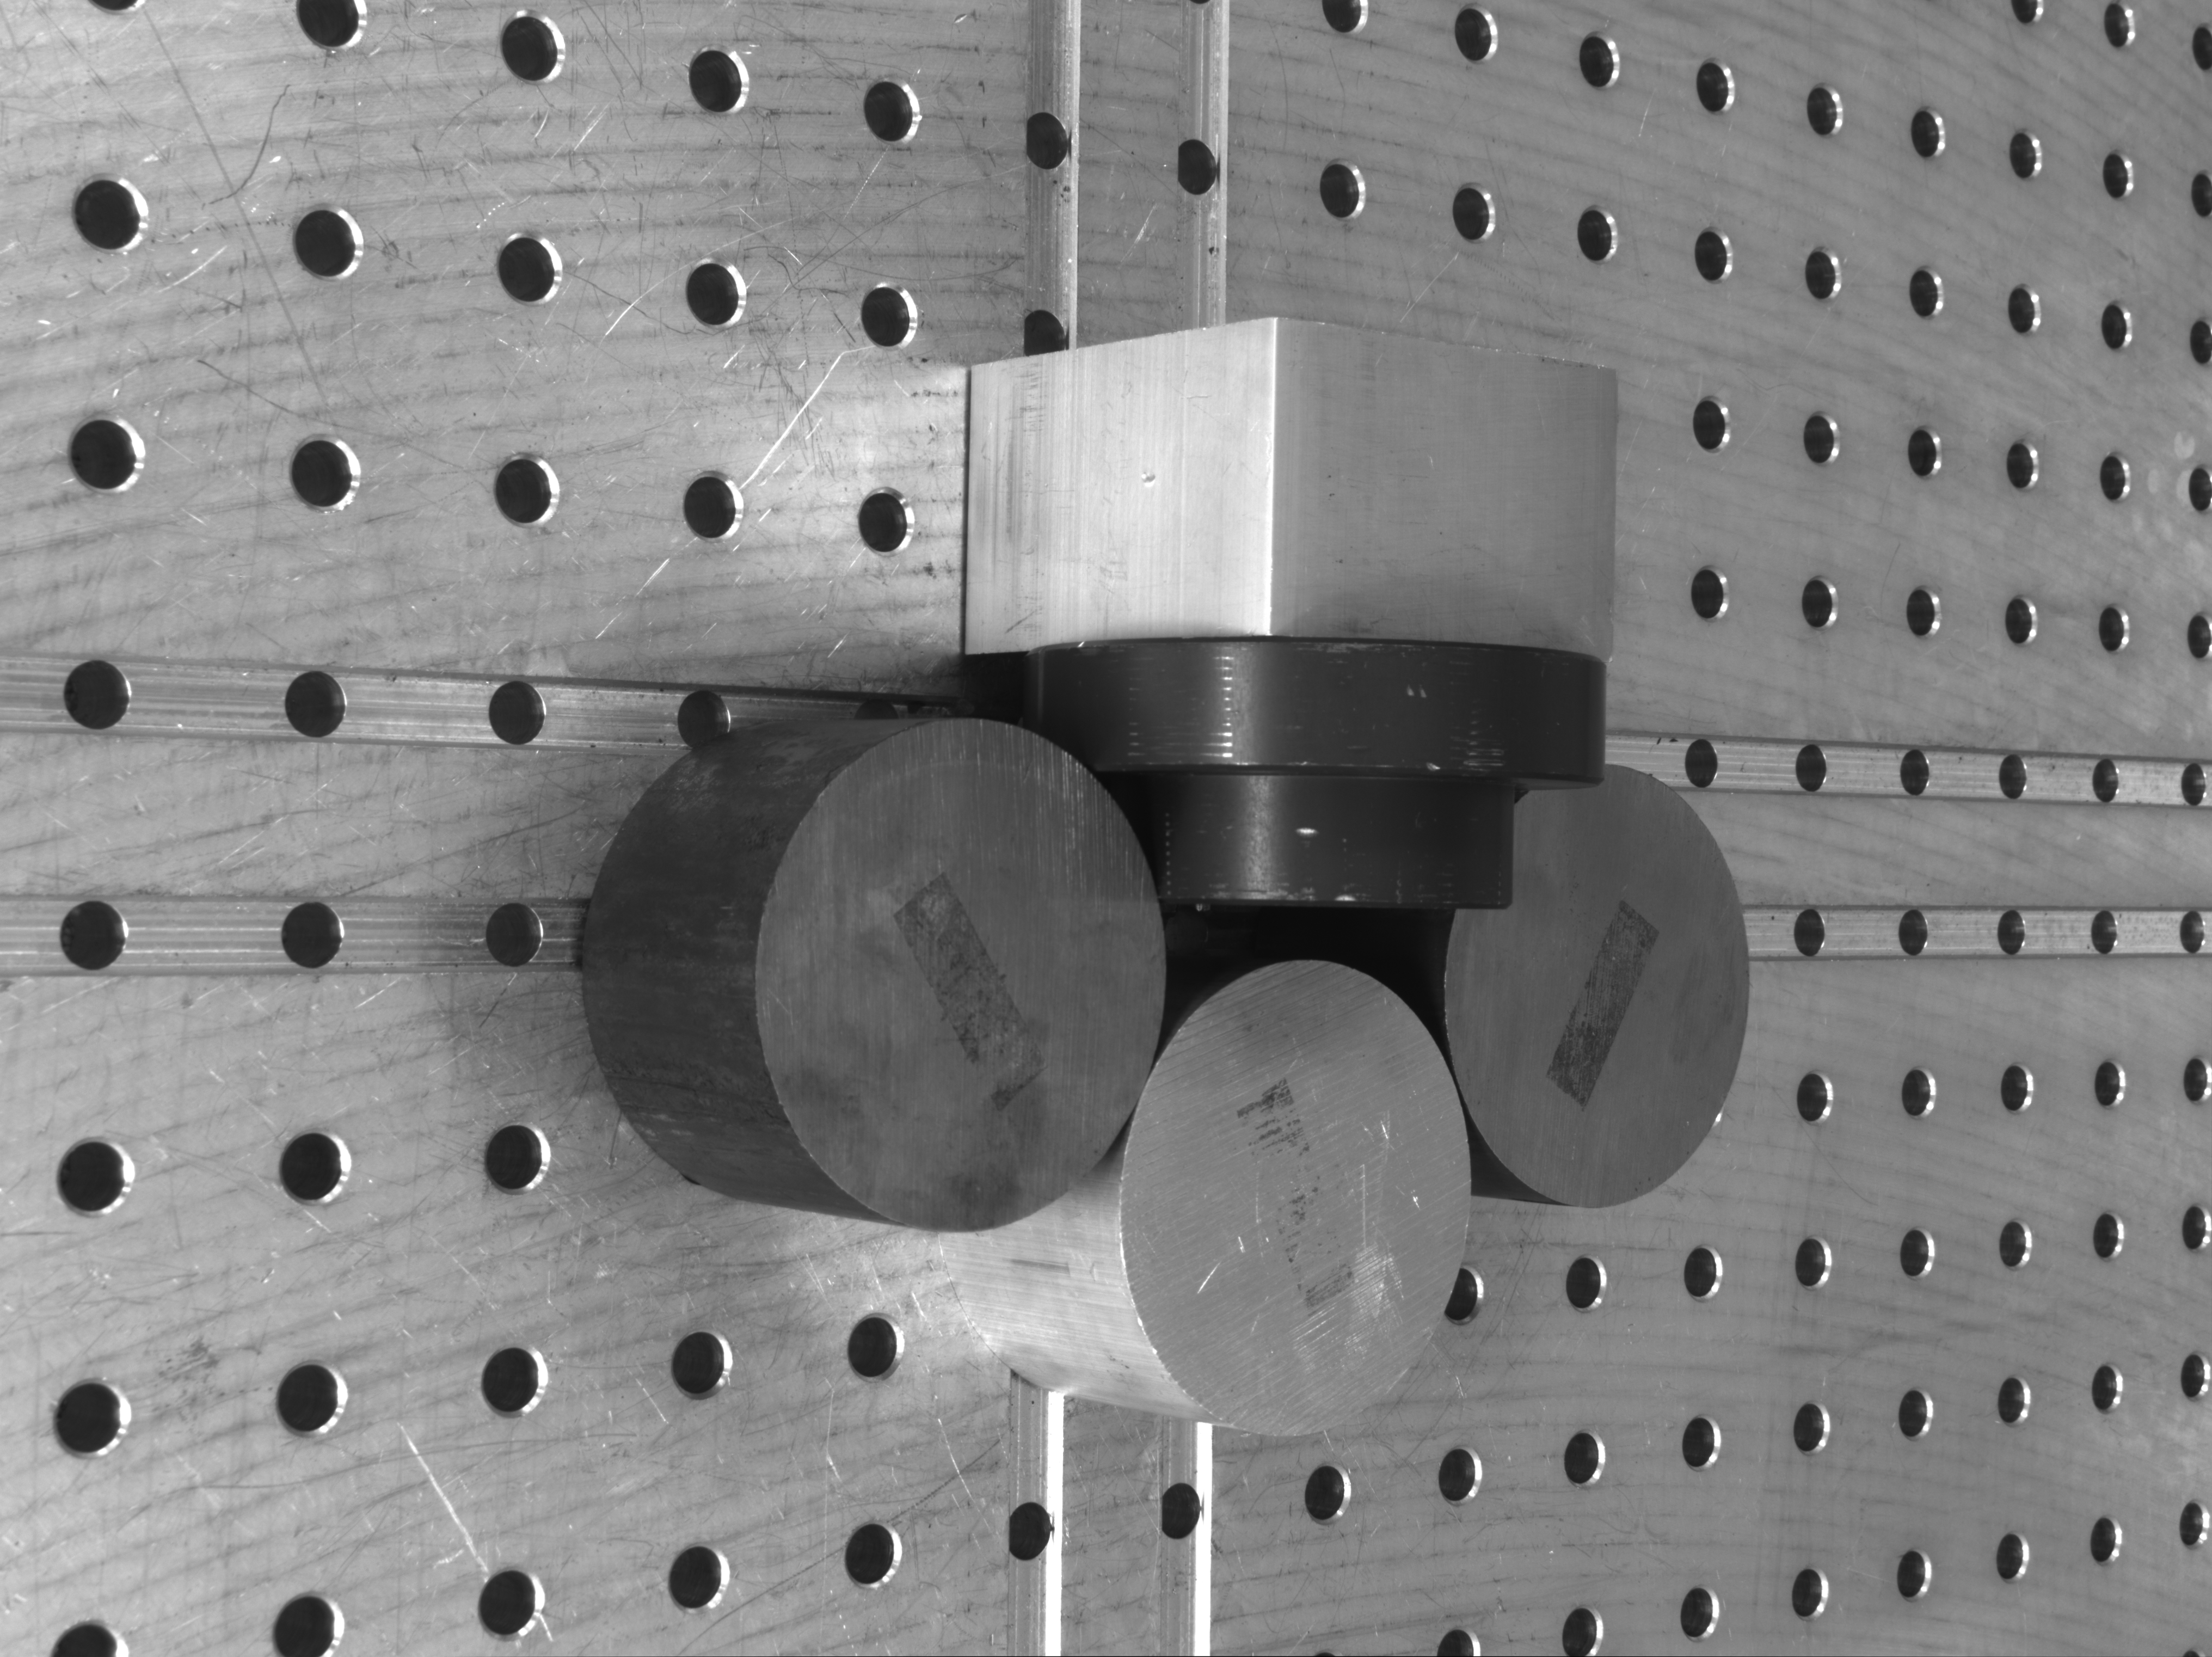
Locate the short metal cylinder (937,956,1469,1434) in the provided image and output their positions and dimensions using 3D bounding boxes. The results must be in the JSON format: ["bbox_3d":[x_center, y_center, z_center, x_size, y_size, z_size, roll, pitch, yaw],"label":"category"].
[{"bbox_3d":[0.017,0.062,0.638,0.080,0.050,0.080,0,90,-40],"label":"short metal cylinder"}]

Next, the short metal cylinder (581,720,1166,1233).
[{"bbox_3d":[-0.037,0.023,0.593,0.080,0.050,0.080,0,90,-40],"label":"short metal cylinder"}]

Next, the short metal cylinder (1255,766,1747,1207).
[{"bbox_3d":[0.074,0.029,0.685,0.080,0.050,0.080,0,90,-40],"label":"short metal cylinder"}]

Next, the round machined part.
[{"bbox_3d":[0.036,-0.007,0.620,0.098,0.098,0.042,3,88,-40],"label":"round machined part"}]

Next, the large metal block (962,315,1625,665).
[{"bbox_3d":[0.032,-0.055,0.630,0.080,0.080,0.050,1,89,-40],"label":"large metal block"}]
